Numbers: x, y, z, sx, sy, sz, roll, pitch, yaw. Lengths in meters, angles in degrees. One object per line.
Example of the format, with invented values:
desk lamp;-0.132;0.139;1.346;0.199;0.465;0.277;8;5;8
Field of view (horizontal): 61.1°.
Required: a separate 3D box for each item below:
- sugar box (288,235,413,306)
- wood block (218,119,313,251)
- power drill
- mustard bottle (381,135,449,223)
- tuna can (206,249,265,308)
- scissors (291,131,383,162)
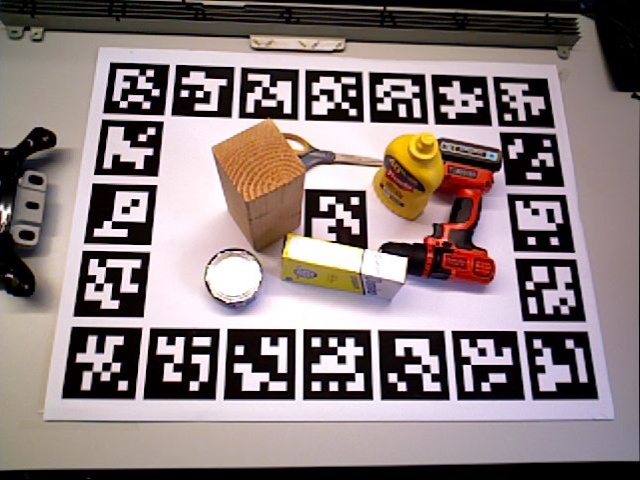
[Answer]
sugar box;0.044;0.046;0.777;0.176;0.094;0.045;14;68;-1
wood block;-0.074;-0.069;0.754;0.090;0.209;0.090;-26;77;-11
power drill;0.186;-0.027;0.822;0.184;0.058;0.186;15;80;2
mustard bottle;0.143;-0.096;0.779;0.058;0.194;0.096;-38;79;-14
tuna can;-0.122;0.056;0.792;0.085;0.034;0.085;1;74;-4
scissors;0.001;-0.134;0.866;0.202;0.016;0.087;4;70;-2
